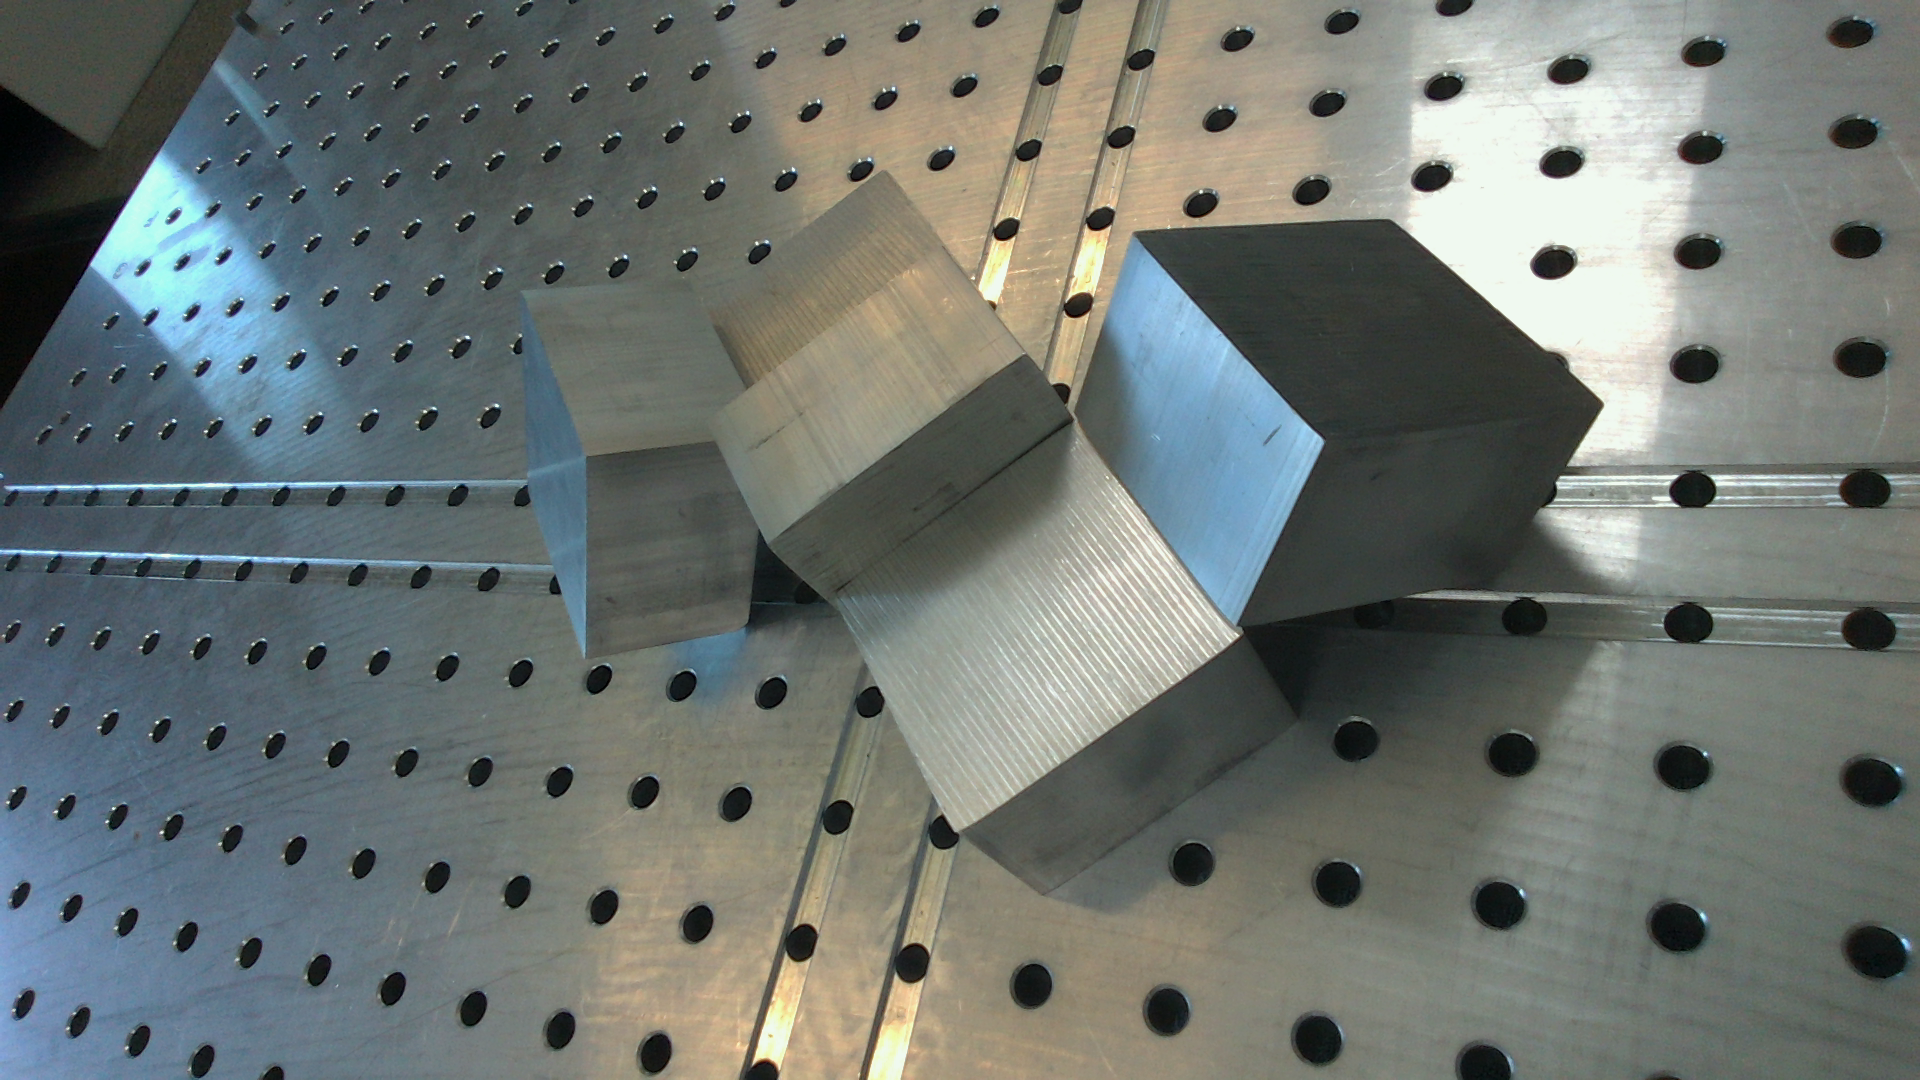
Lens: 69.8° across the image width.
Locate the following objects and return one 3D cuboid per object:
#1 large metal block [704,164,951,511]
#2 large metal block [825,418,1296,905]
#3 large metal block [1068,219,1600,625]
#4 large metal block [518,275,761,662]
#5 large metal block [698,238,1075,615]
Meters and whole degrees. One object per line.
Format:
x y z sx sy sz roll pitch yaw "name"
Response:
-0.029 -0.057 0.431 0.080 0.050 0.080 -37 51 5 "large metal block"
0.024 0.030 0.349 0.080 0.050 0.080 -35 49 5 "large metal block"
0.085 -0.032 0.327 0.080 0.050 0.080 -9 46 -26 "large metal block"
-0.100 -0.023 0.420 0.050 0.080 0.080 -10 46 -25 "large metal block"
-0.010 -0.020 0.379 0.080 0.080 0.050 -36 52 4 "large metal block"
